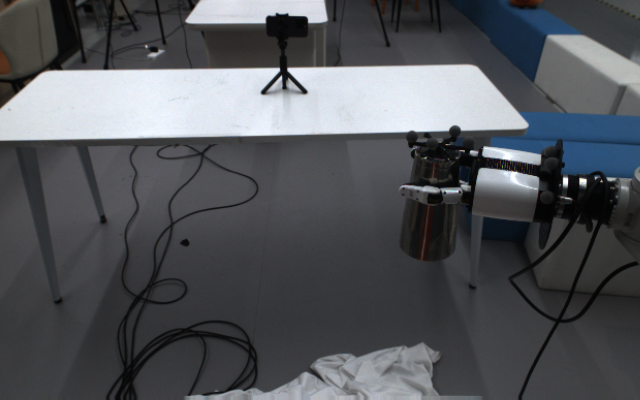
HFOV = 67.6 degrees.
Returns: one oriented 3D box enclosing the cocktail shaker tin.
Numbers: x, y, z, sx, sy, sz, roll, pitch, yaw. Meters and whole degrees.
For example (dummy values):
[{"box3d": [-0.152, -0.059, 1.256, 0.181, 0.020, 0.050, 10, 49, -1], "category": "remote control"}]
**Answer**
[{"box3d": [0.179, -0.004, 0.758, 0.093, 0.170, 0.093, -1, 32, 1], "category": "cocktail shaker tin"}]
